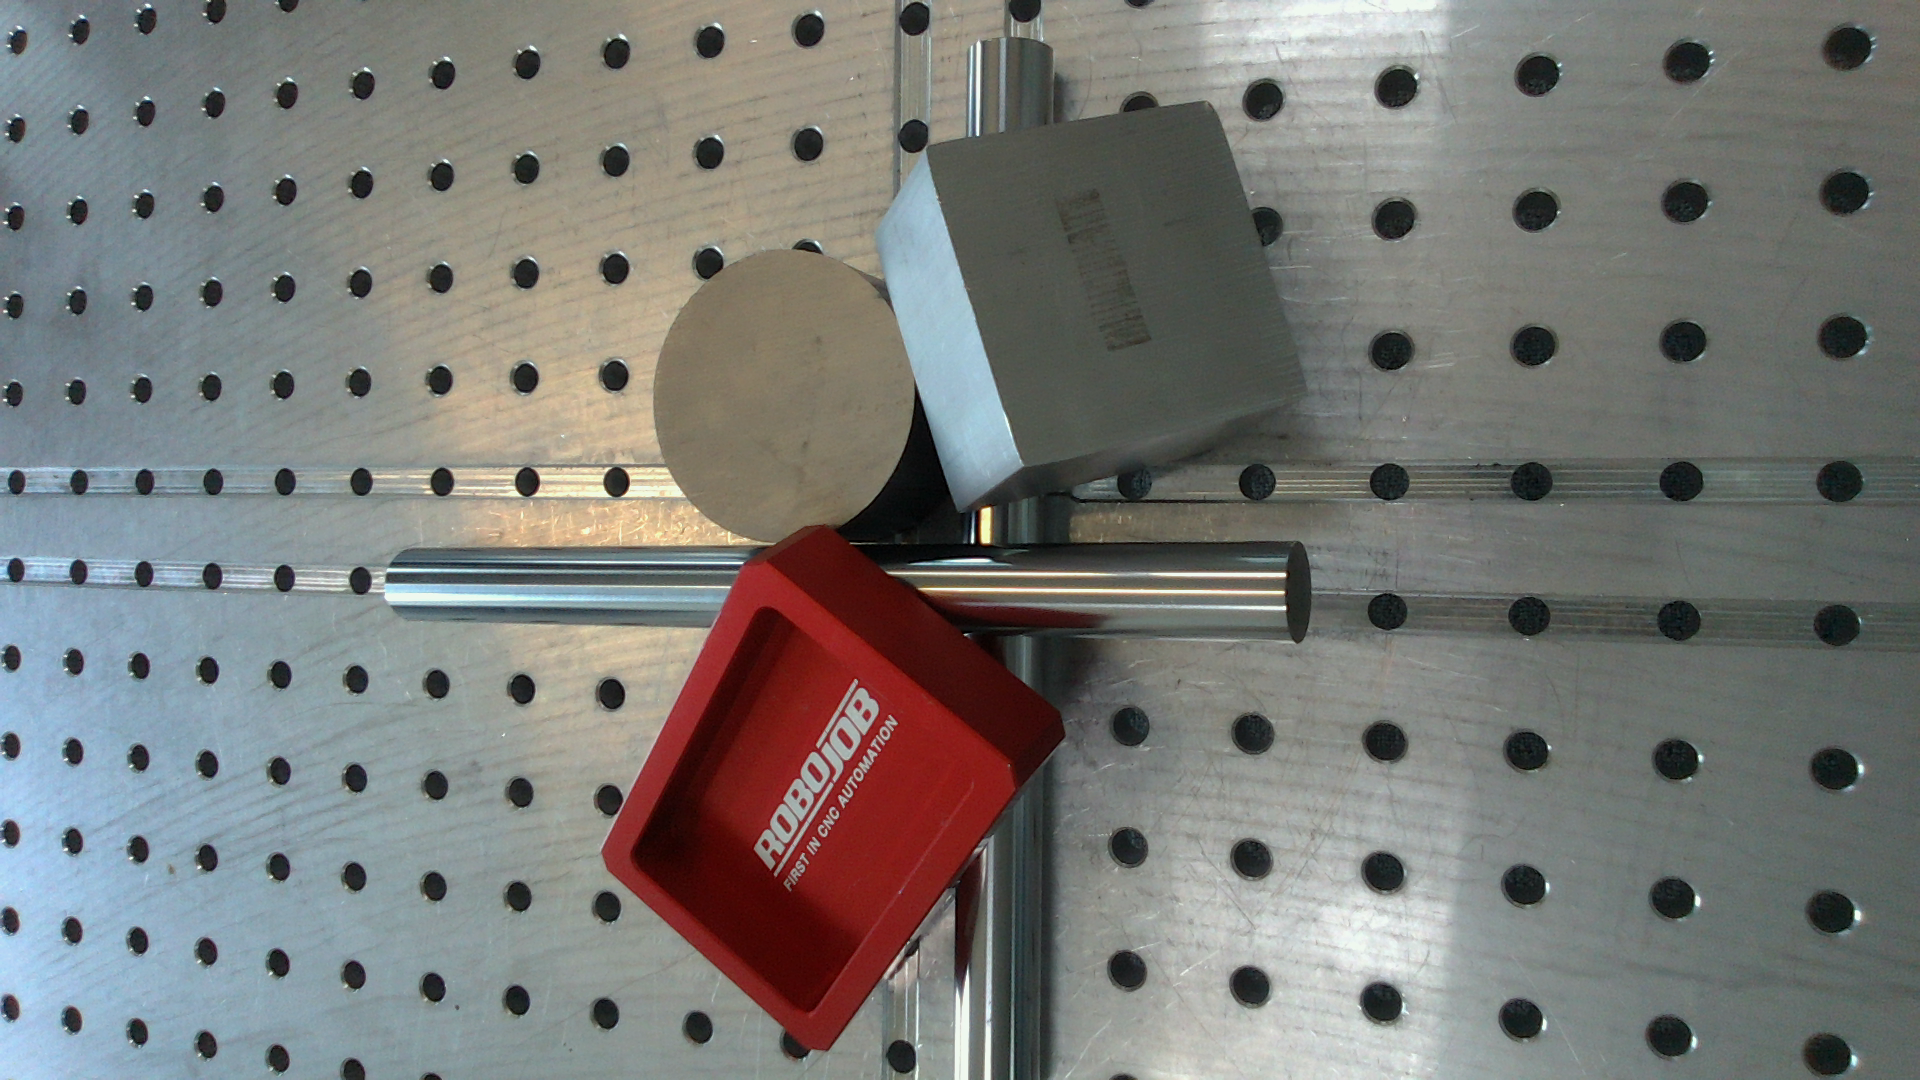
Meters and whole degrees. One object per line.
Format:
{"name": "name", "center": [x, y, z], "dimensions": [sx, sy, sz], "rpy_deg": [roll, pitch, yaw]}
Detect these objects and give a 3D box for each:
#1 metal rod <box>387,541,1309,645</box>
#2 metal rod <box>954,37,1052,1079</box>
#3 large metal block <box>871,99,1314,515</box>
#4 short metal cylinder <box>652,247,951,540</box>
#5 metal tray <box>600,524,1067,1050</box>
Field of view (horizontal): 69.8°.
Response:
{"name": "metal rod", "center": [-0.051, 0.014, 0.399], "dimensions": [0.299, 0.025, 0.025], "rpy_deg": [0, 90, 27]}
{"name": "metal rod", "center": [0.012, 0.011, 0.394], "dimensions": [0.025, 0.025, 0.300], "rpy_deg": [1, 91, 20]}
{"name": "large metal block", "center": [0.032, -0.059, 0.352], "dimensions": [0.080, 0.050, 0.080], "rpy_deg": [-15, 84, -21]}
{"name": "short metal cylinder", "center": [-0.041, -0.040, 0.399], "dimensions": [0.080, 0.050, 0.080], "rpy_deg": [0, 90, 20]}
{"name": "metal tray", "center": [-0.040, 0.071, 0.383], "dimensions": [0.090, 0.030, 0.130], "rpy_deg": [38, 123, 10]}
